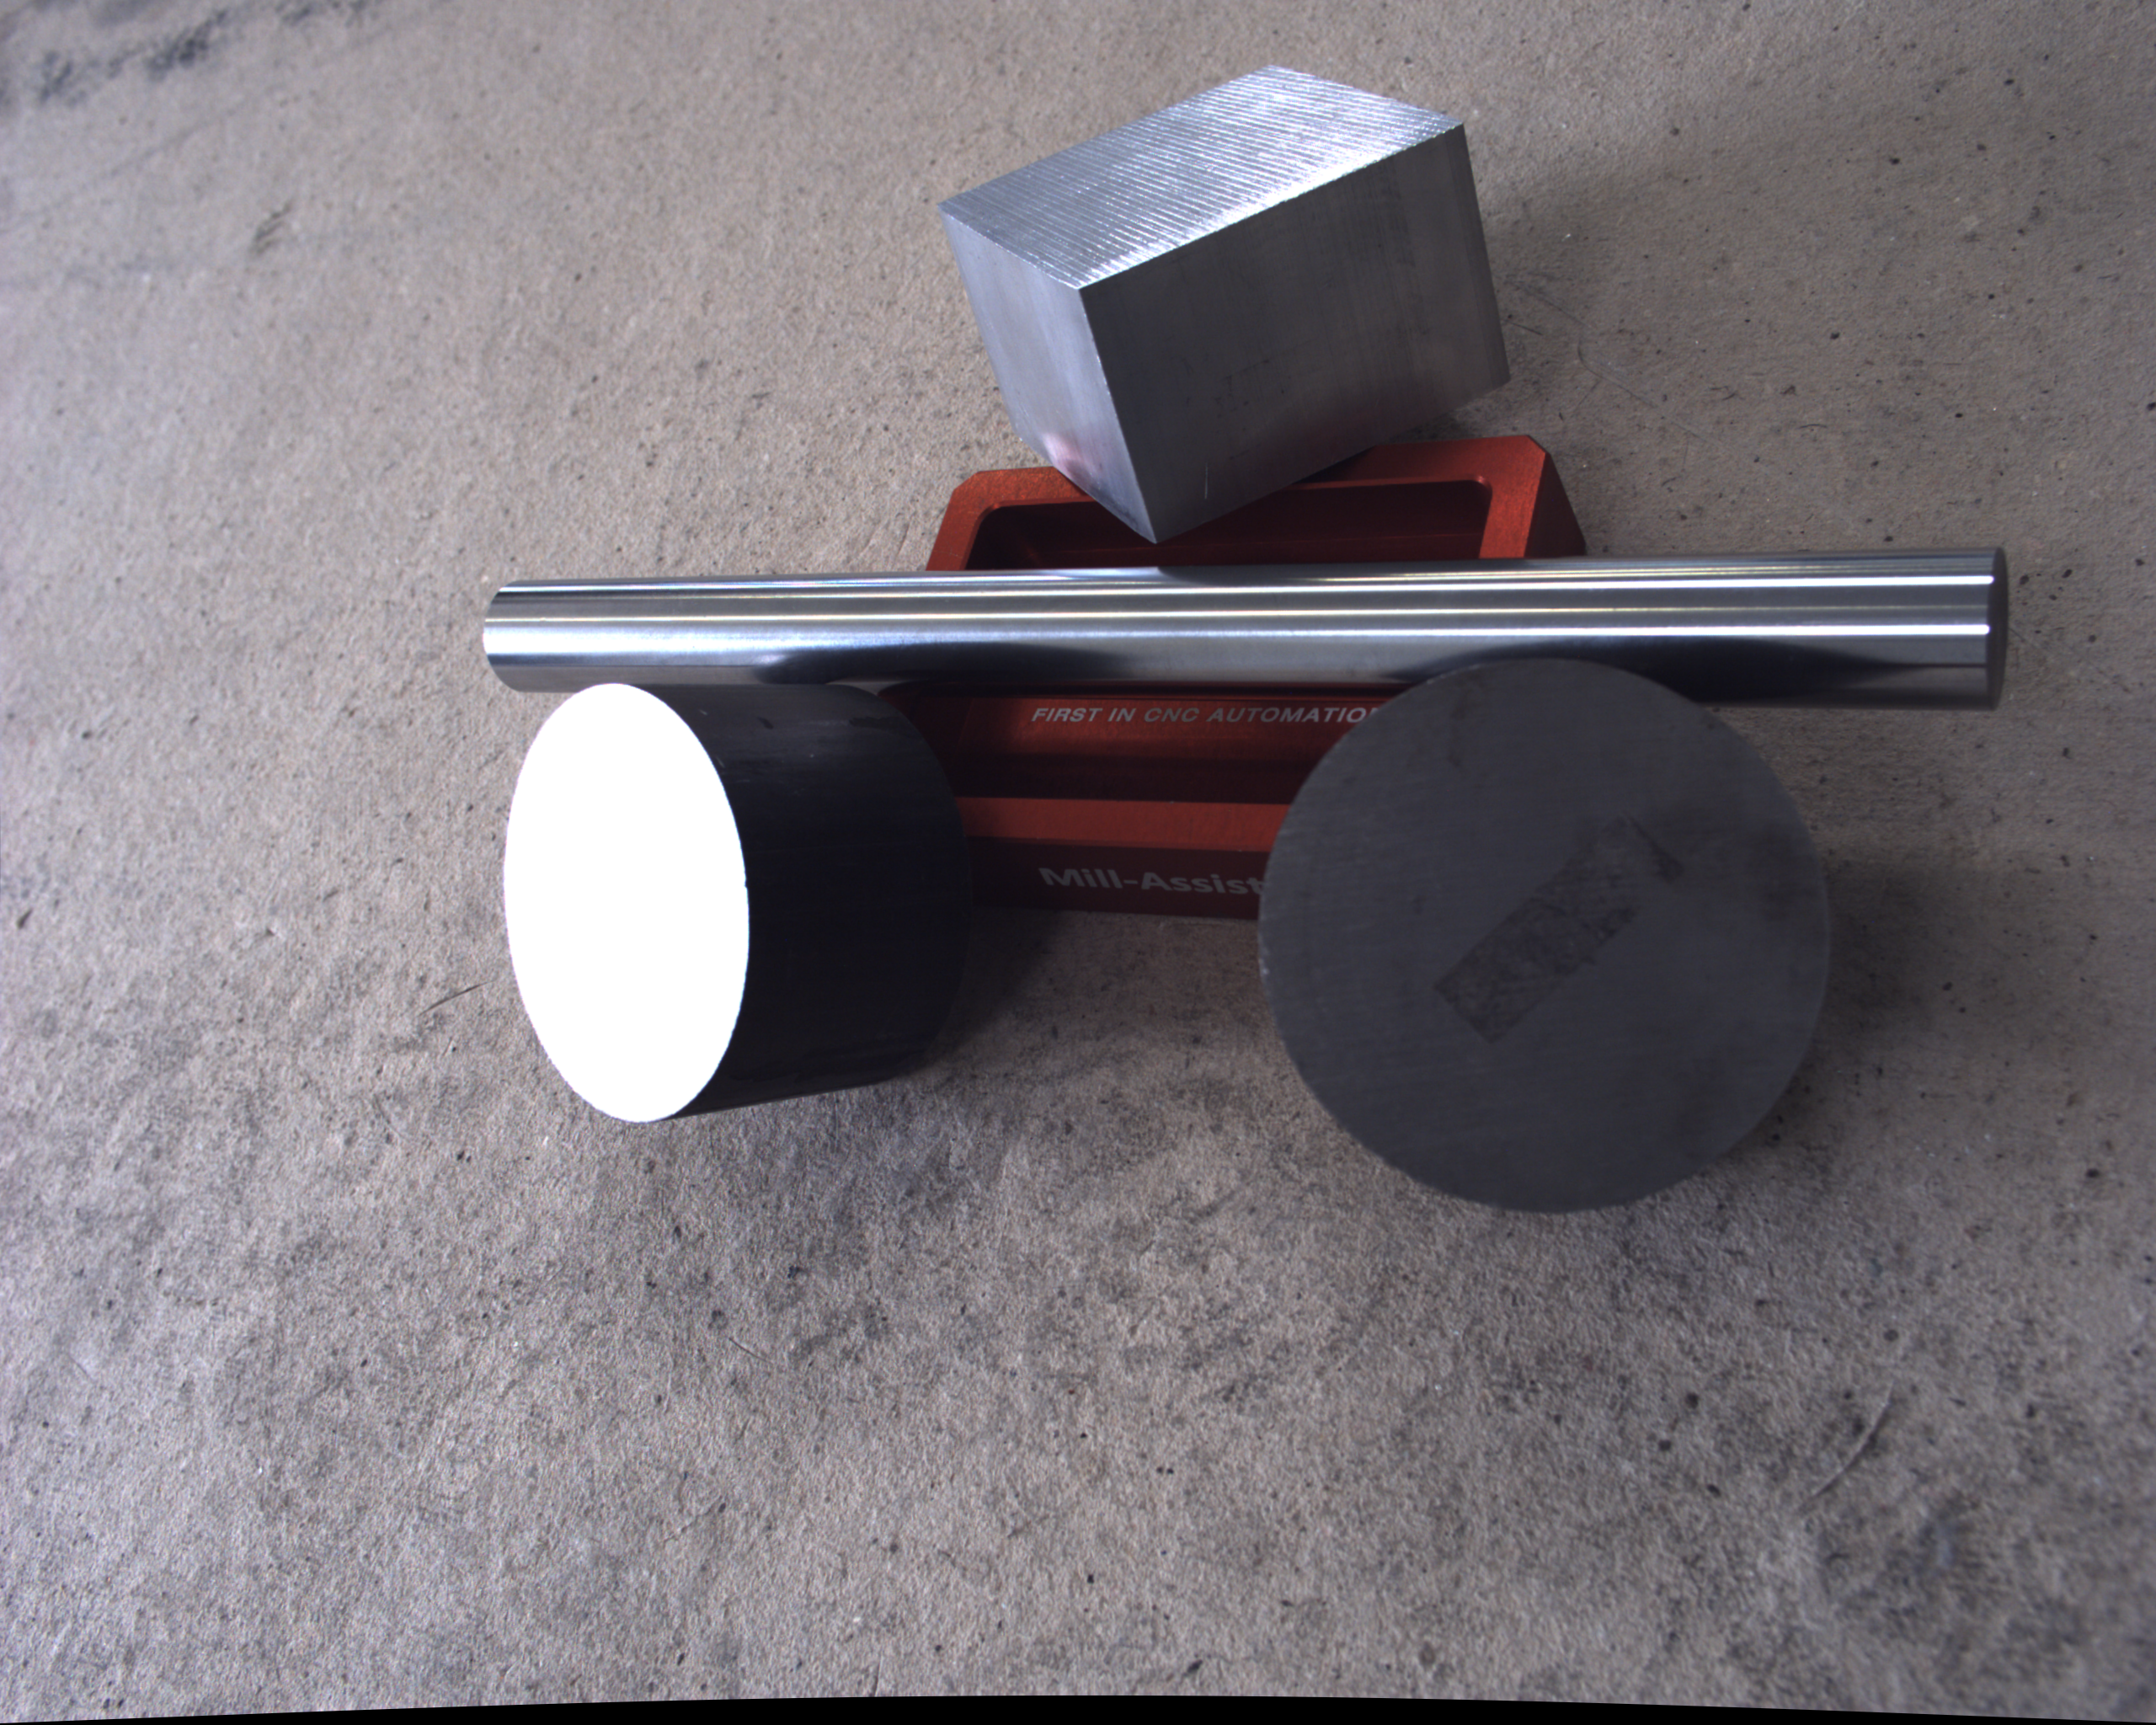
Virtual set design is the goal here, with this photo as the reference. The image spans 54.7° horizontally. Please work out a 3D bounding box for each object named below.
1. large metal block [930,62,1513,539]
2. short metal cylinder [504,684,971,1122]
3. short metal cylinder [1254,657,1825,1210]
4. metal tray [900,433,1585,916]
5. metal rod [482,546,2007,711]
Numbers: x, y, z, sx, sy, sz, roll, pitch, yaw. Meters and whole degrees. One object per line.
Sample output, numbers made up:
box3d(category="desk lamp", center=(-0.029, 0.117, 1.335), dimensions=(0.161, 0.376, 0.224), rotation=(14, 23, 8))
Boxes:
box3d(category="large metal block", center=(0.027, -0.116, 0.418), dimensions=(0.080, 0.050, 0.080), rotation=(-26, 34, -9))
box3d(category="short metal cylinder", center=(-0.066, 0.006, 0.396), dimensions=(0.080, 0.050, 0.079), rotation=(4, 96, 45))
box3d(category="short metal cylinder", center=(0.069, 0.012, 0.325), dimensions=(0.080, 0.050, 0.080), rotation=(-1, 84, 9))
box3d(category="metal tray", center=(0.026, -0.036, 0.411), dimensions=(0.130, 0.030, 0.090), rotation=(2, 63, 29))
box3d(category="metal rod", center=(0.008, -0.043, 0.389), dimensions=(0.300, 0.025, 0.025), rotation=(3, 63, 29))
